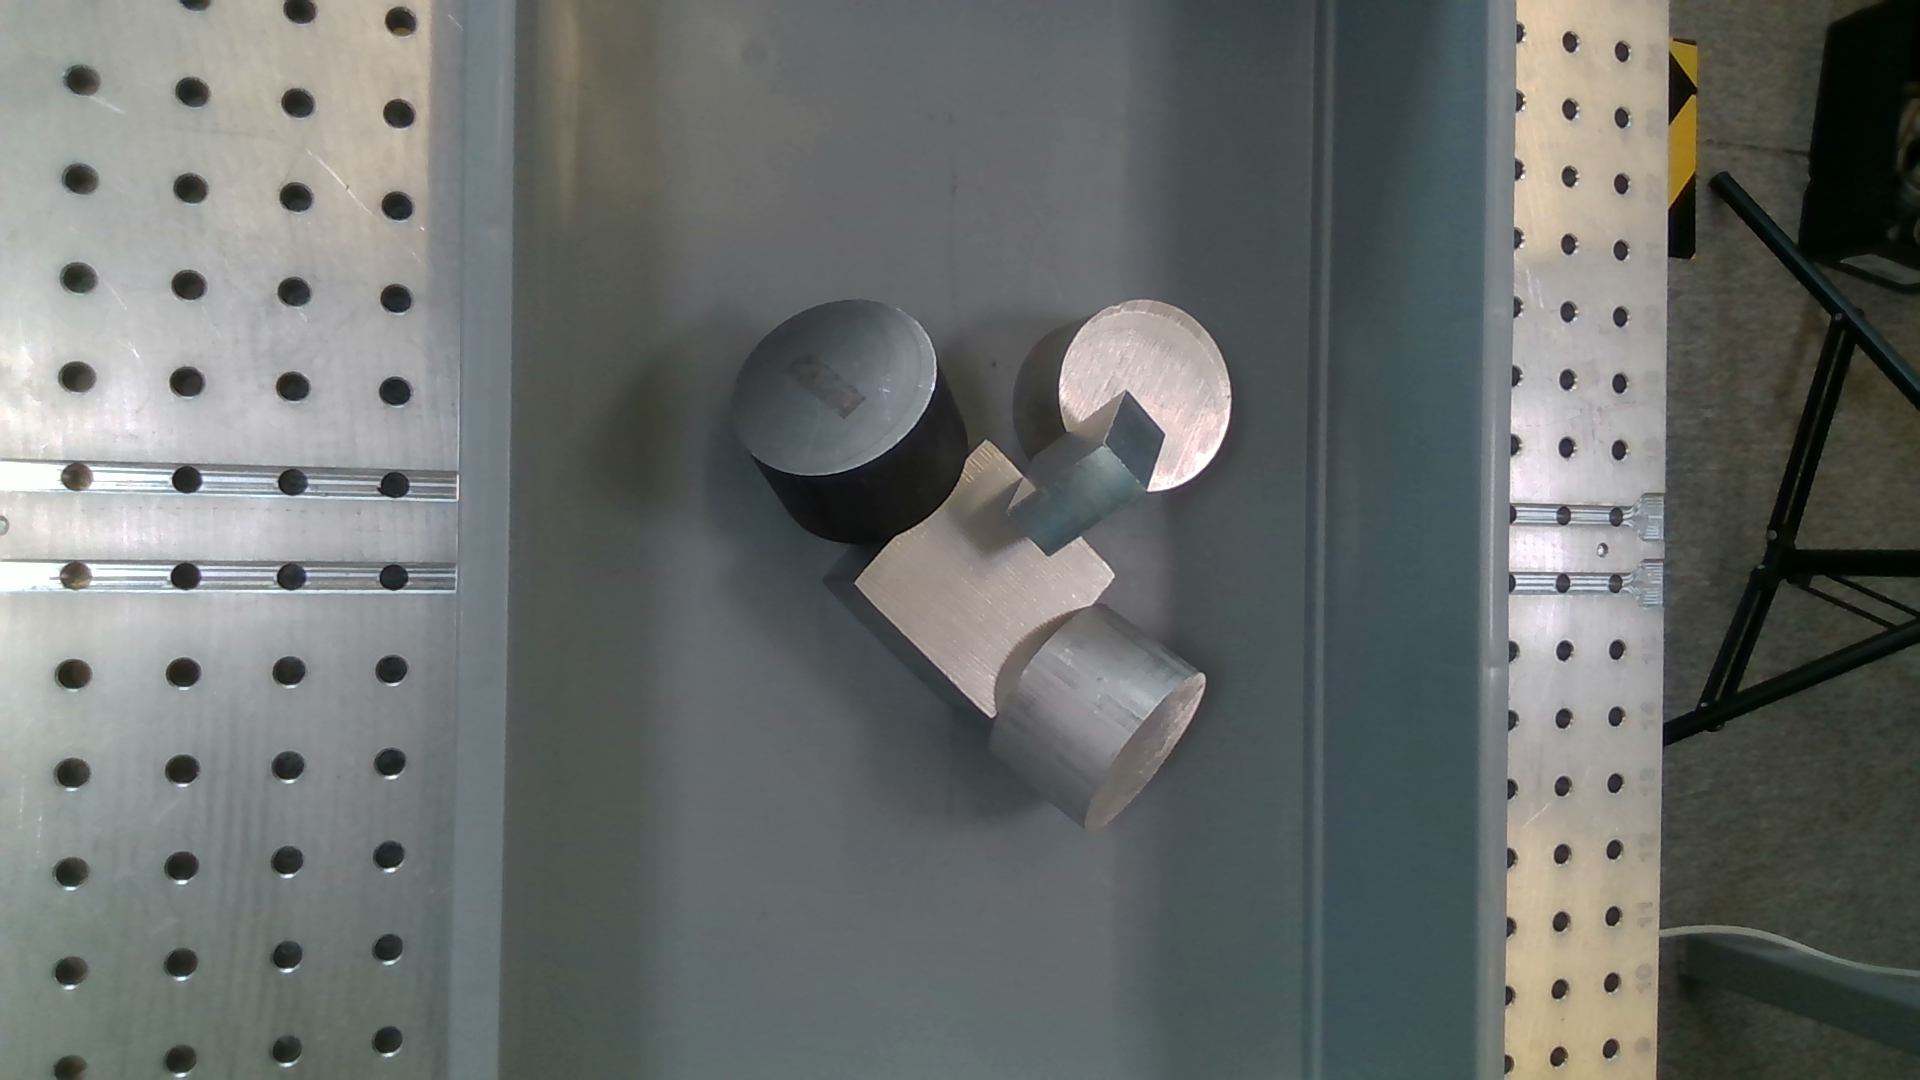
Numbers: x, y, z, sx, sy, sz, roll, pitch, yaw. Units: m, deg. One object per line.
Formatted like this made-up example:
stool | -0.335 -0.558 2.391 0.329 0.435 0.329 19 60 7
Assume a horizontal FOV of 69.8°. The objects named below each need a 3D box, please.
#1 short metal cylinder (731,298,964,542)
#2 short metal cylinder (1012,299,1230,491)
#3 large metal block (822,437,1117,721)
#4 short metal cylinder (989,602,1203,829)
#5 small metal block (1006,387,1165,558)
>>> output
short metal cylinder | -0.042 -0.046 0.534 0.080 0.050 0.080 -7 59 12
short metal cylinder | 0.069 -0.060 0.597 0.080 0.050 0.080 0 90 -20
large metal block | 0.003 0.016 0.571 0.080 0.050 0.080 46 76 -15
short metal cylinder | 0.057 0.073 0.570 0.050 0.080 0.080 36 75 23
small metal block | 0.050 -0.027 0.537 0.025 0.050 0.050 47 32 -12
